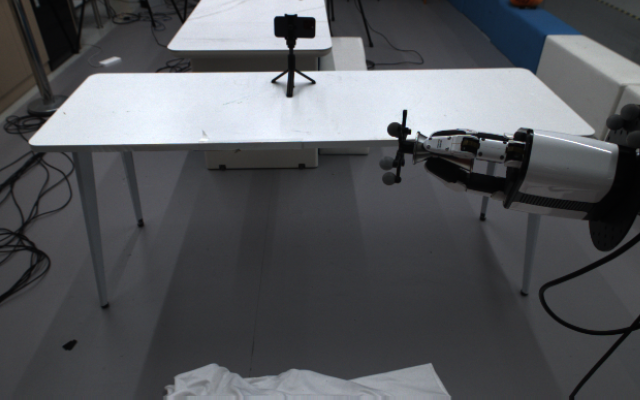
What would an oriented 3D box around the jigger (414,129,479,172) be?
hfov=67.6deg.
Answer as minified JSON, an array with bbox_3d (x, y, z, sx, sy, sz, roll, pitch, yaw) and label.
[{"bbox_3d":[0.149,-0.064,0.571,0.071,0.043,0.043,8,35,15],"label":"jigger"}]
